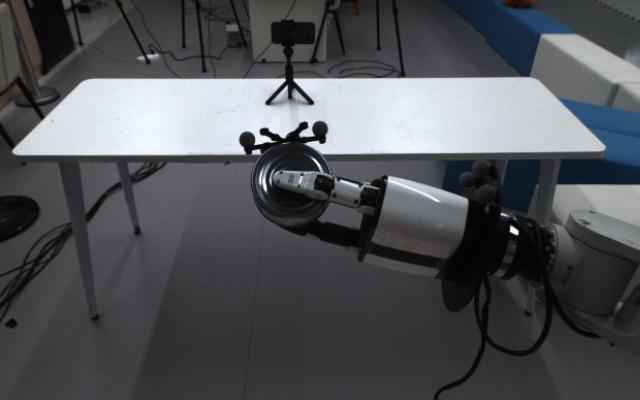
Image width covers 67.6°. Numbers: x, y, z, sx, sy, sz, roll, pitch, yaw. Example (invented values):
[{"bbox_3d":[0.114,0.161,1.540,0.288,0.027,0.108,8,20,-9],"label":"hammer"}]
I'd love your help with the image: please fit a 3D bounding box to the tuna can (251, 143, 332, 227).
[{"bbox_3d":[-0.024,-0.011,0.506,0.085,0.034,0.085,0,72,-1],"label":"tuna can"}]
